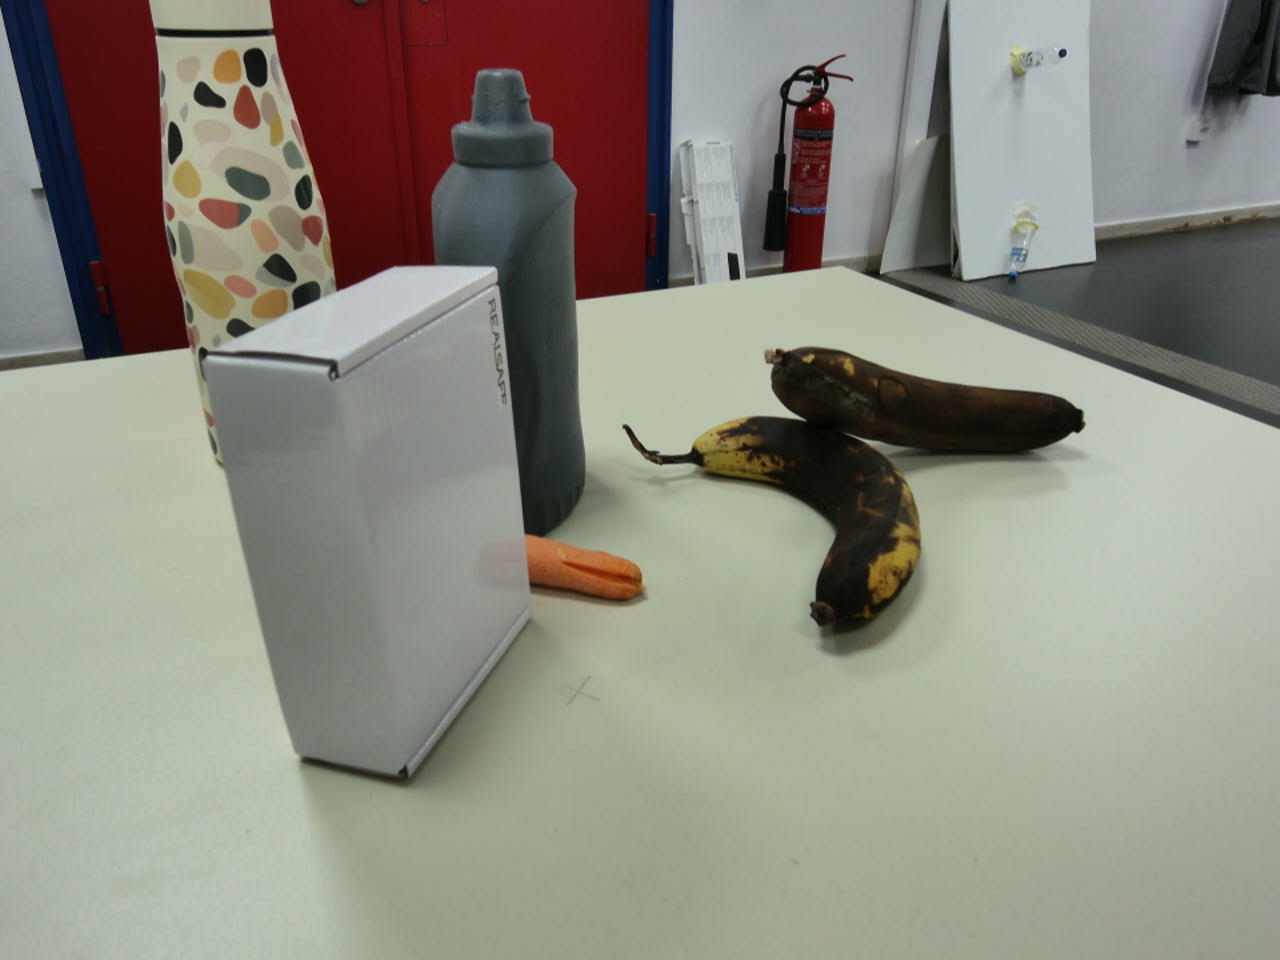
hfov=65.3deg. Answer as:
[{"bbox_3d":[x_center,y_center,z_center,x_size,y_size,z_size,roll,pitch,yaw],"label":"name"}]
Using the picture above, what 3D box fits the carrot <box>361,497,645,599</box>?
[{"bbox_3d":[-0.063,0.030,0.445,0.136,0.032,0.030,8,25,17],"label":"carrot"}]
